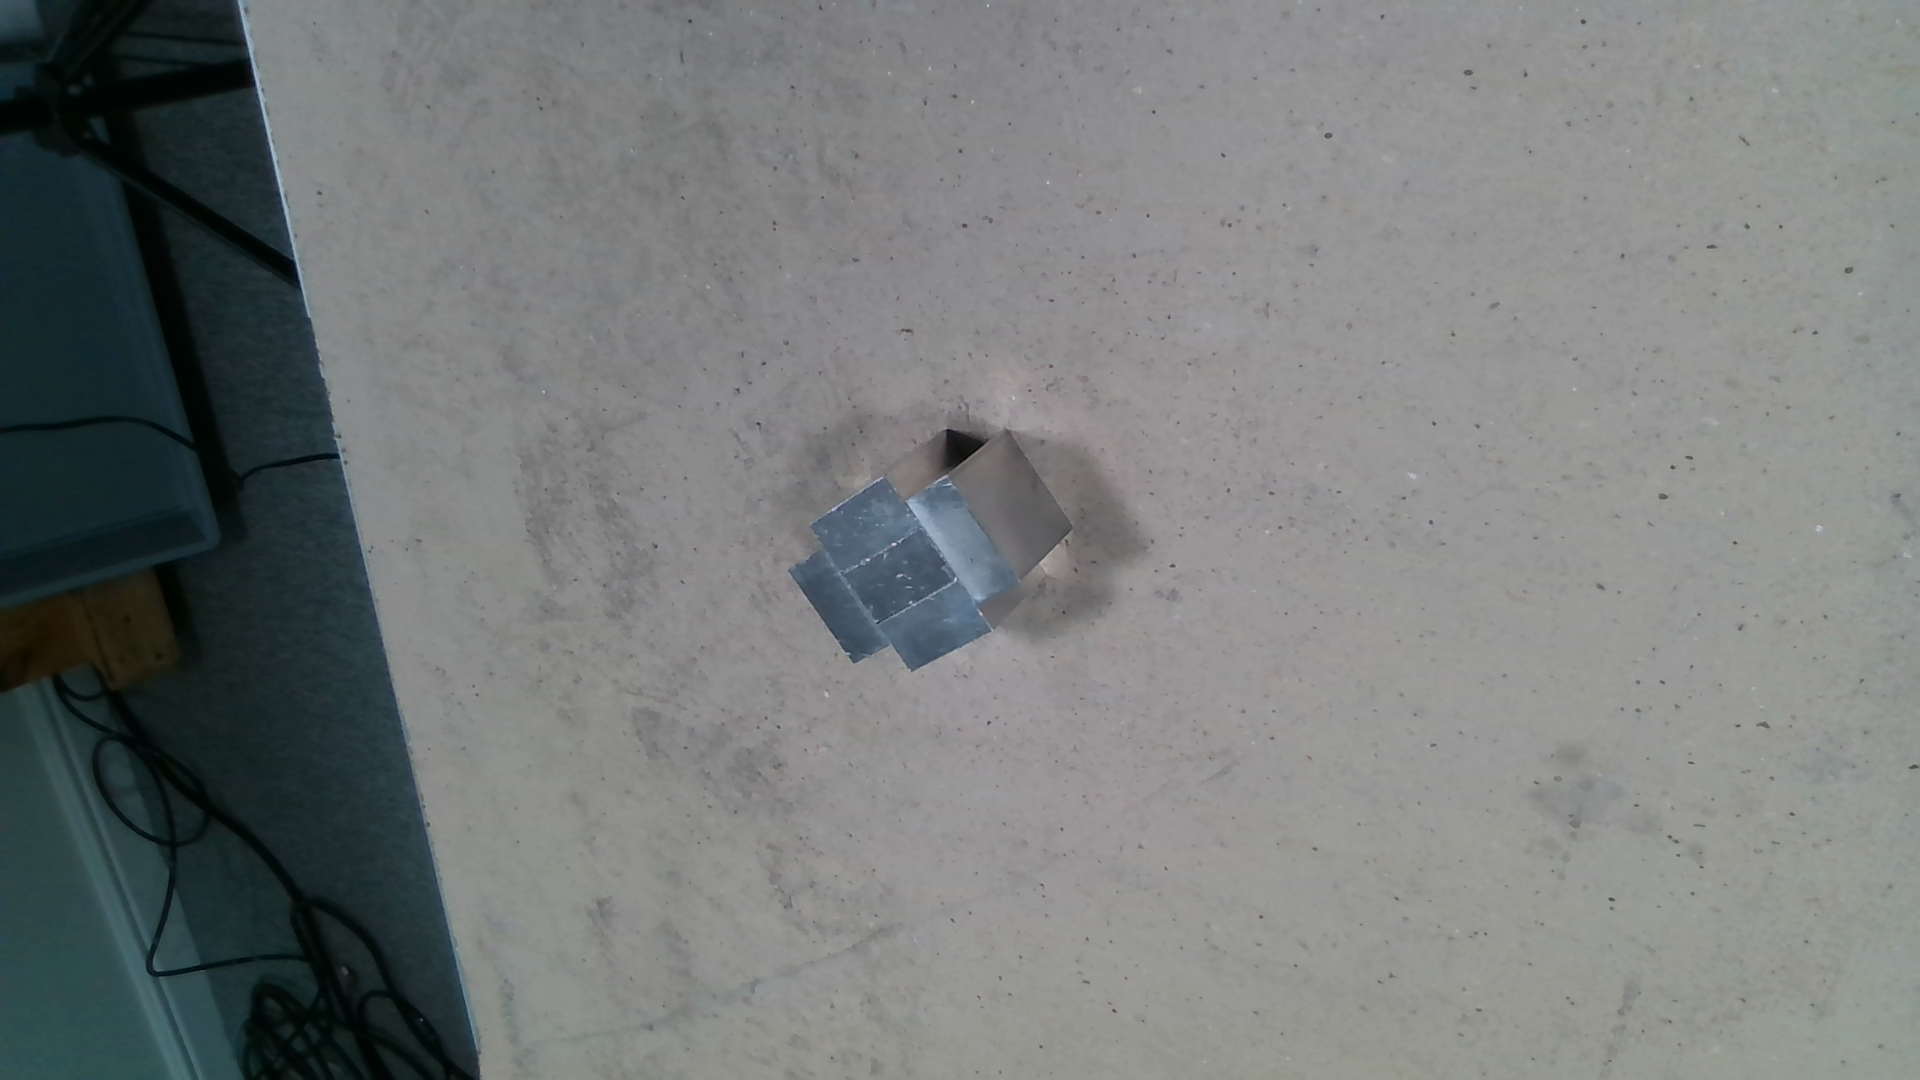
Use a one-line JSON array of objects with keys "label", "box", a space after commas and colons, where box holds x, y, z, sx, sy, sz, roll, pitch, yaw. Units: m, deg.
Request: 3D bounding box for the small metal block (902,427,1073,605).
[{"label": "small metal block", "box": [0.012, -0.010, 0.550, 0.025, 0.050, 0.050, -29, 98, 39]}]

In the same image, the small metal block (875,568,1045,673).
[{"label": "small metal block", "box": [0.000, 0.025, 0.577, 0.050, 0.050, 0.025, -31, 96, 39]}]

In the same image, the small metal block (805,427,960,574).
[{"label": "small metal block", "box": [-0.028, -0.016, 0.571, 0.050, 0.050, 0.025, -30, 97, 39]}]

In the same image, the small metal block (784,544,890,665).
[{"label": "small metal block", "box": [-0.040, 0.018, 0.597, 0.025, 0.050, 0.050, -29, 98, 39]}]

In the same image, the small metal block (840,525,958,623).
[{"label": "small metal block", "box": [-0.014, 0.004, 0.574, 0.050, 0.050, 0.025, -30, 97, 39]}]
